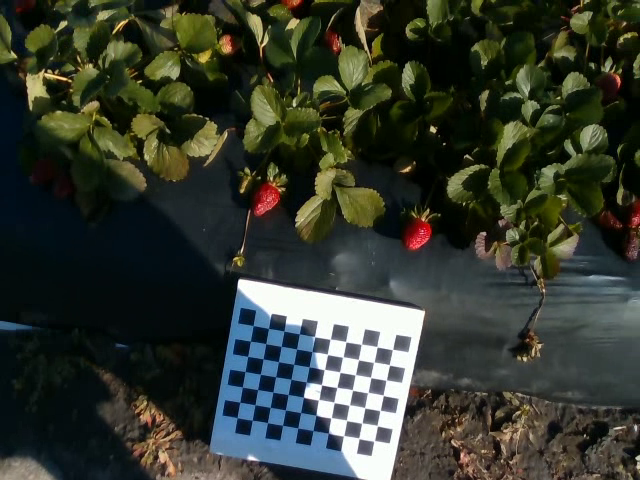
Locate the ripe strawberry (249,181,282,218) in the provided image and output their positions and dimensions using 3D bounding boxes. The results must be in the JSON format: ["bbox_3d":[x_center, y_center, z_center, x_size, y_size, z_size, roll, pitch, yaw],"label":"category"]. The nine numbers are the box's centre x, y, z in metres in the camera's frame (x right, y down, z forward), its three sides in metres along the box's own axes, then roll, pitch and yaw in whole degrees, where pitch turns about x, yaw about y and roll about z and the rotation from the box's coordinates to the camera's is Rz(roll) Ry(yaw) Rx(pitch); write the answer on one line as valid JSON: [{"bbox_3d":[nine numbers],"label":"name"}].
[{"bbox_3d":[-0.075,-0.053,0.801,0.042,0.053,0.043,21,-38,-6],"label":"ripe strawberry"}]

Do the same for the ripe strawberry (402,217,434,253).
[{"bbox_3d":[0.126,-0.003,0.799,0.043,0.043,0.050,-37,11,45],"label":"ripe strawberry"}]
